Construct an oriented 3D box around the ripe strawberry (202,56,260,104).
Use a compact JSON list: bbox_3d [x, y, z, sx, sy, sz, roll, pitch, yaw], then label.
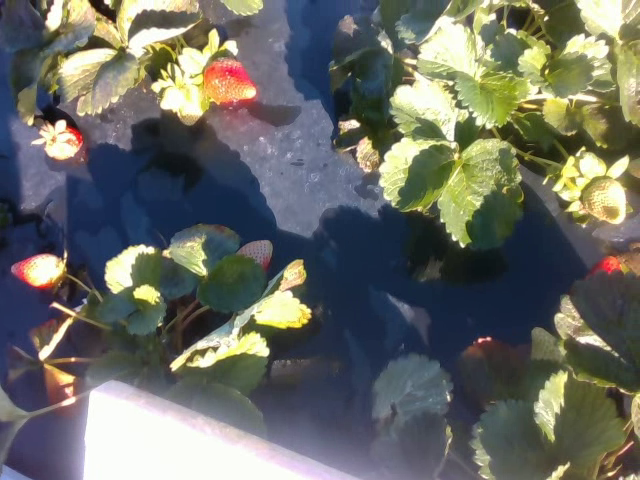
[{"bbox_3d":[-0.079,-0.144,0.568,0.064,0.049,0.052,27,21,27],"label":"ripe strawberry"}]
